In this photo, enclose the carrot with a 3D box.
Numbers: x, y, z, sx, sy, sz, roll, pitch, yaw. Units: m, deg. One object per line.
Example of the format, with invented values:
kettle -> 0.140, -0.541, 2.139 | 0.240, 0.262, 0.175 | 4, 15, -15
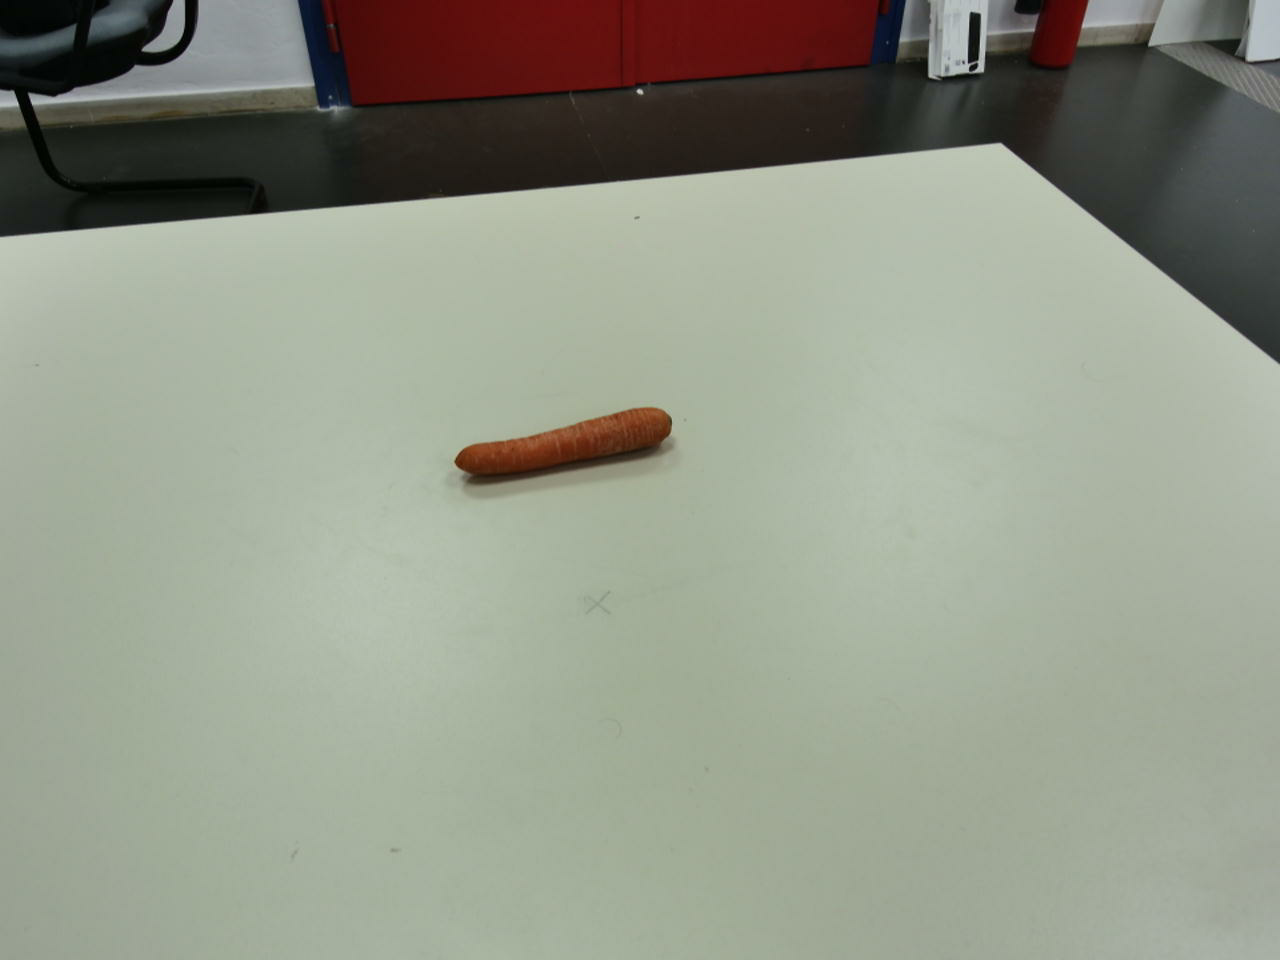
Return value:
carrot -> -0.040, -0.021, 0.551 | 0.122, 0.023, 0.024 | -10, 40, -12
